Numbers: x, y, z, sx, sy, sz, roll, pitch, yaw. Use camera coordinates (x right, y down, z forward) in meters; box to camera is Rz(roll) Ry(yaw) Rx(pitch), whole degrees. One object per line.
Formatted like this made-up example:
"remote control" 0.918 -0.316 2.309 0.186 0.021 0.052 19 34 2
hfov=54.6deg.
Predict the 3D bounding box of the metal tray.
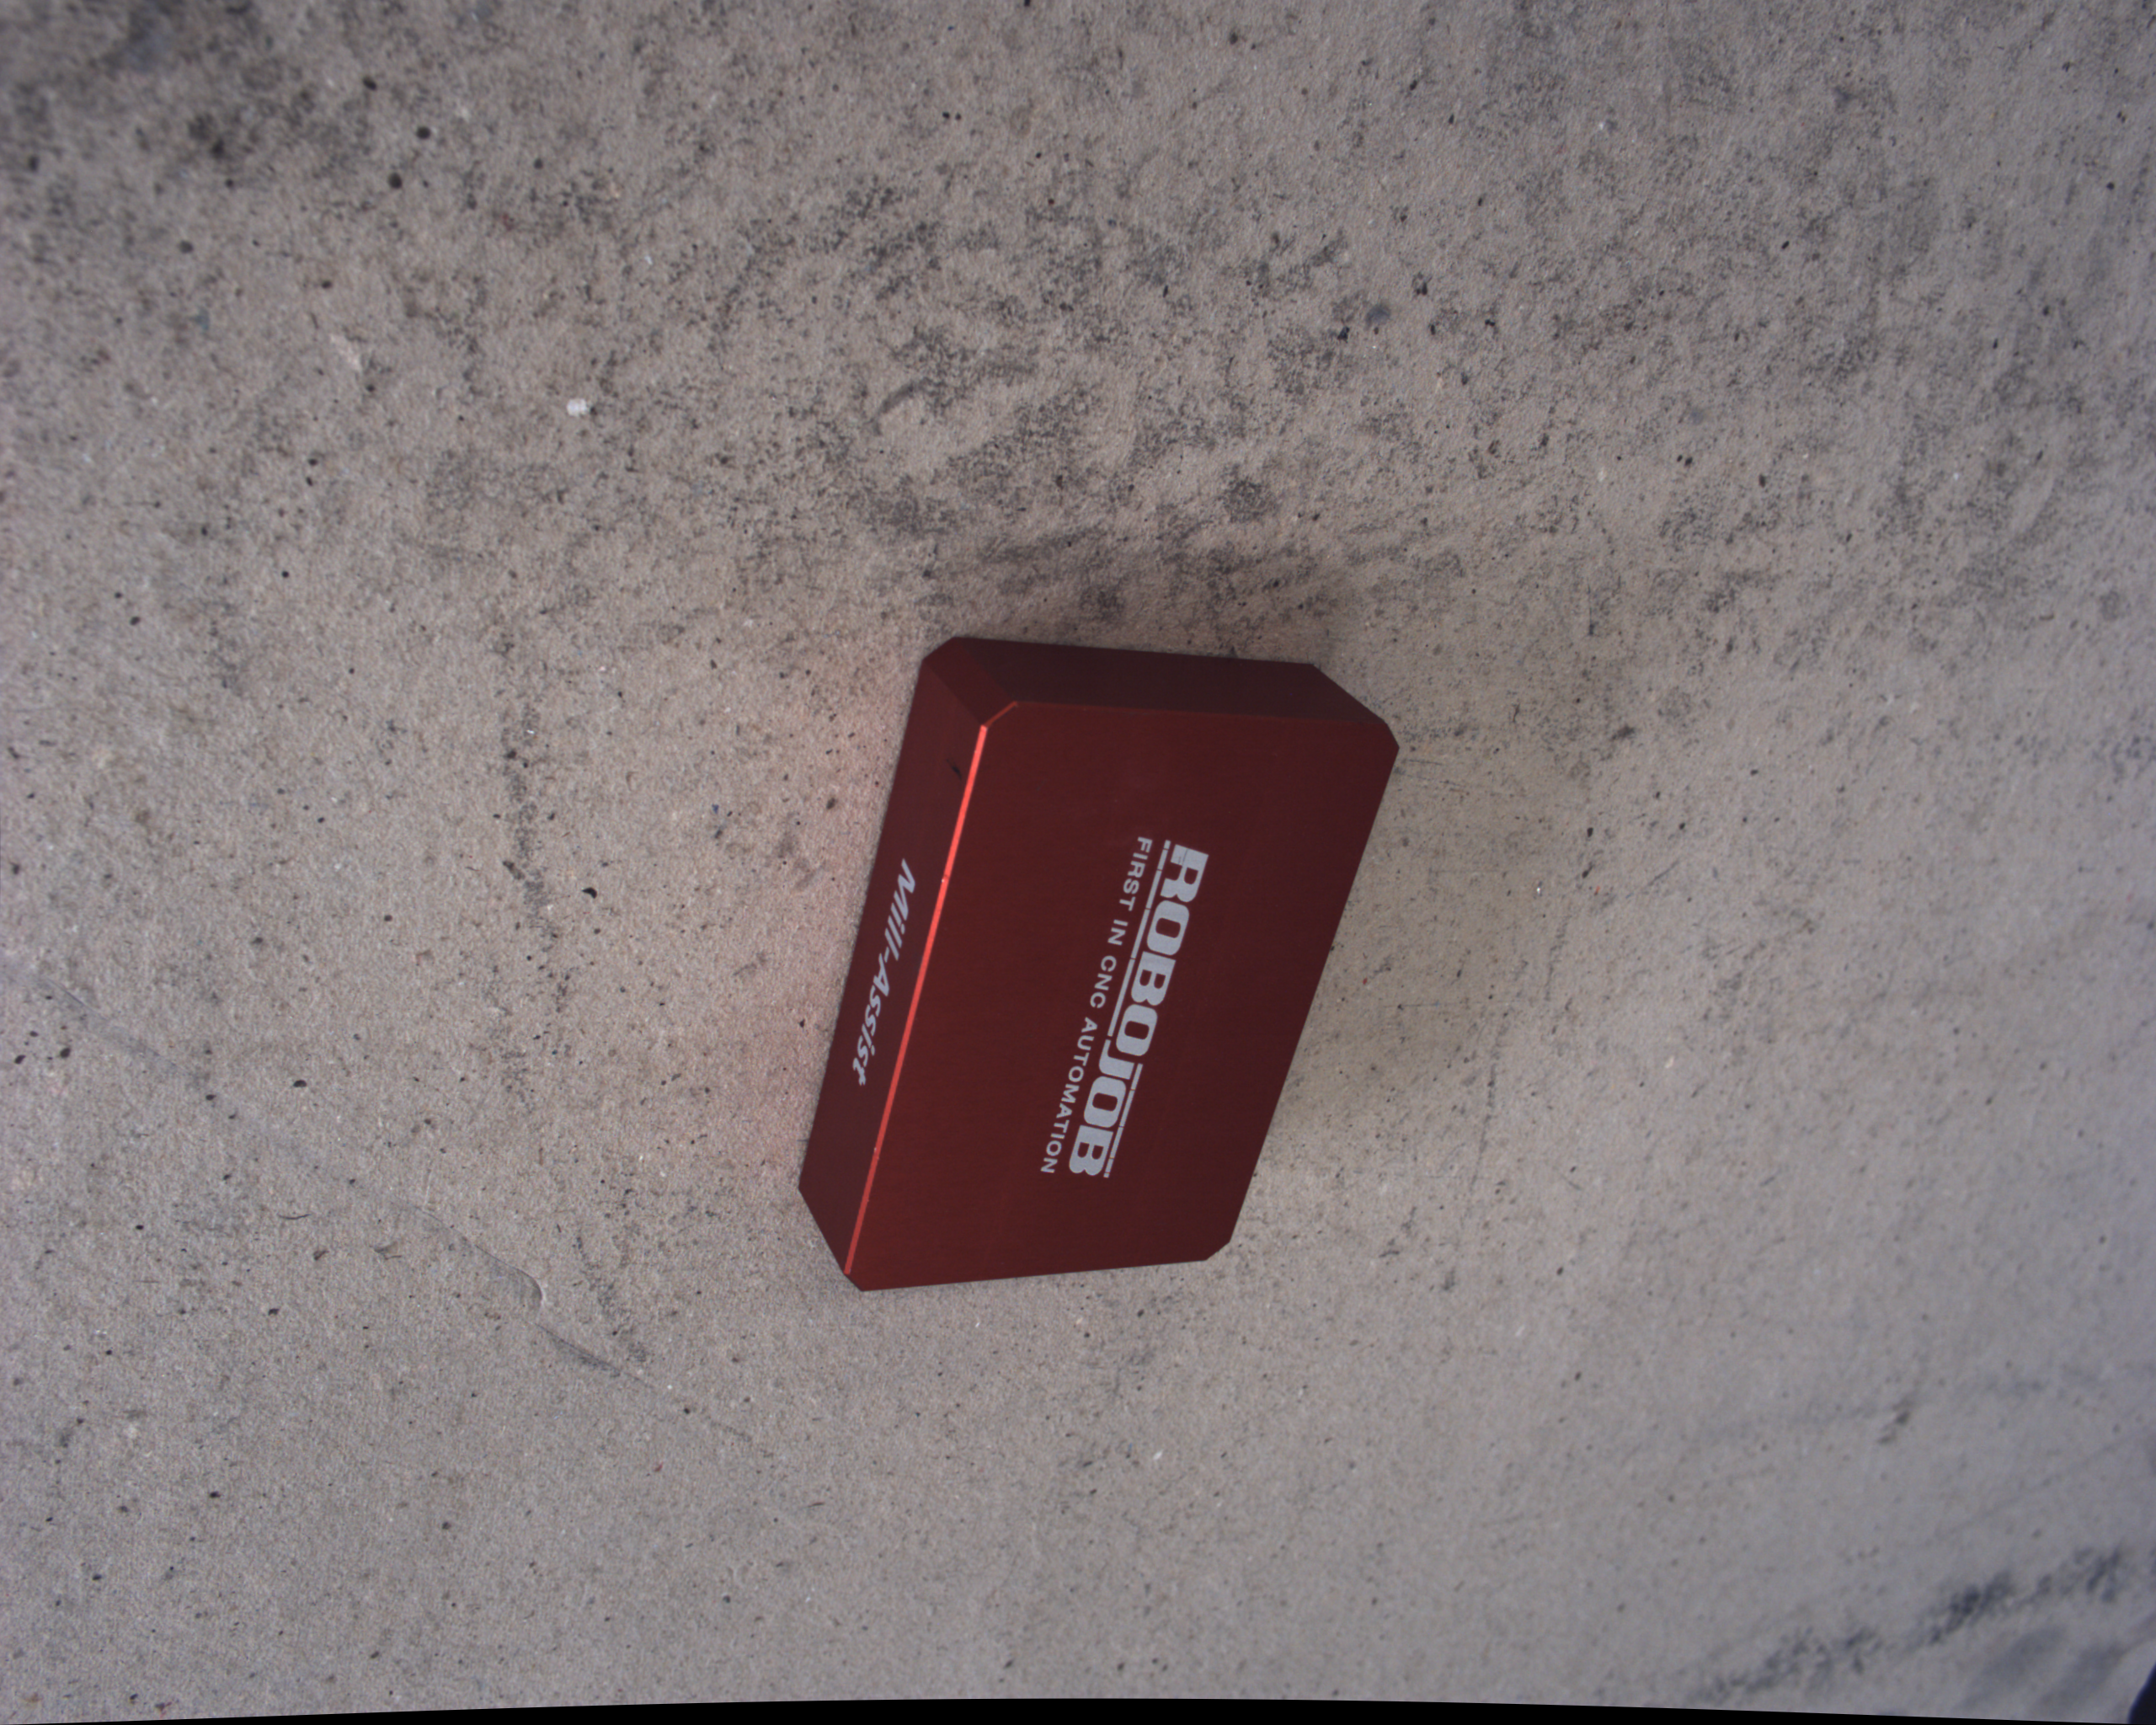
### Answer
"metal tray" 0.002 0.023 0.419 0.091 0.030 0.129 1 119 -29
